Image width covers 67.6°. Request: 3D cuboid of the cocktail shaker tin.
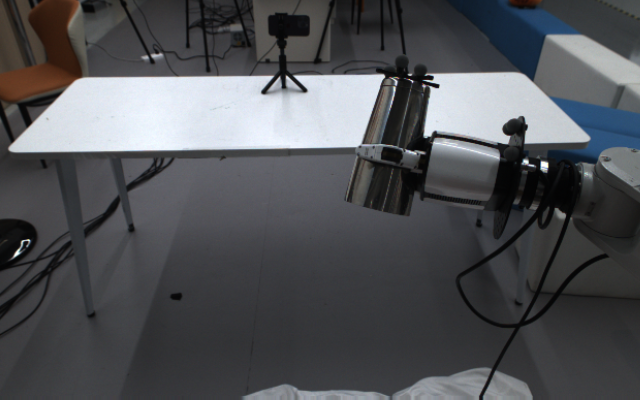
[{"bbox_3d":[0.097,-0.072,0.652,0.093,0.170,0.093,13,4,-1],"label":"cocktail shaker tin"}]
